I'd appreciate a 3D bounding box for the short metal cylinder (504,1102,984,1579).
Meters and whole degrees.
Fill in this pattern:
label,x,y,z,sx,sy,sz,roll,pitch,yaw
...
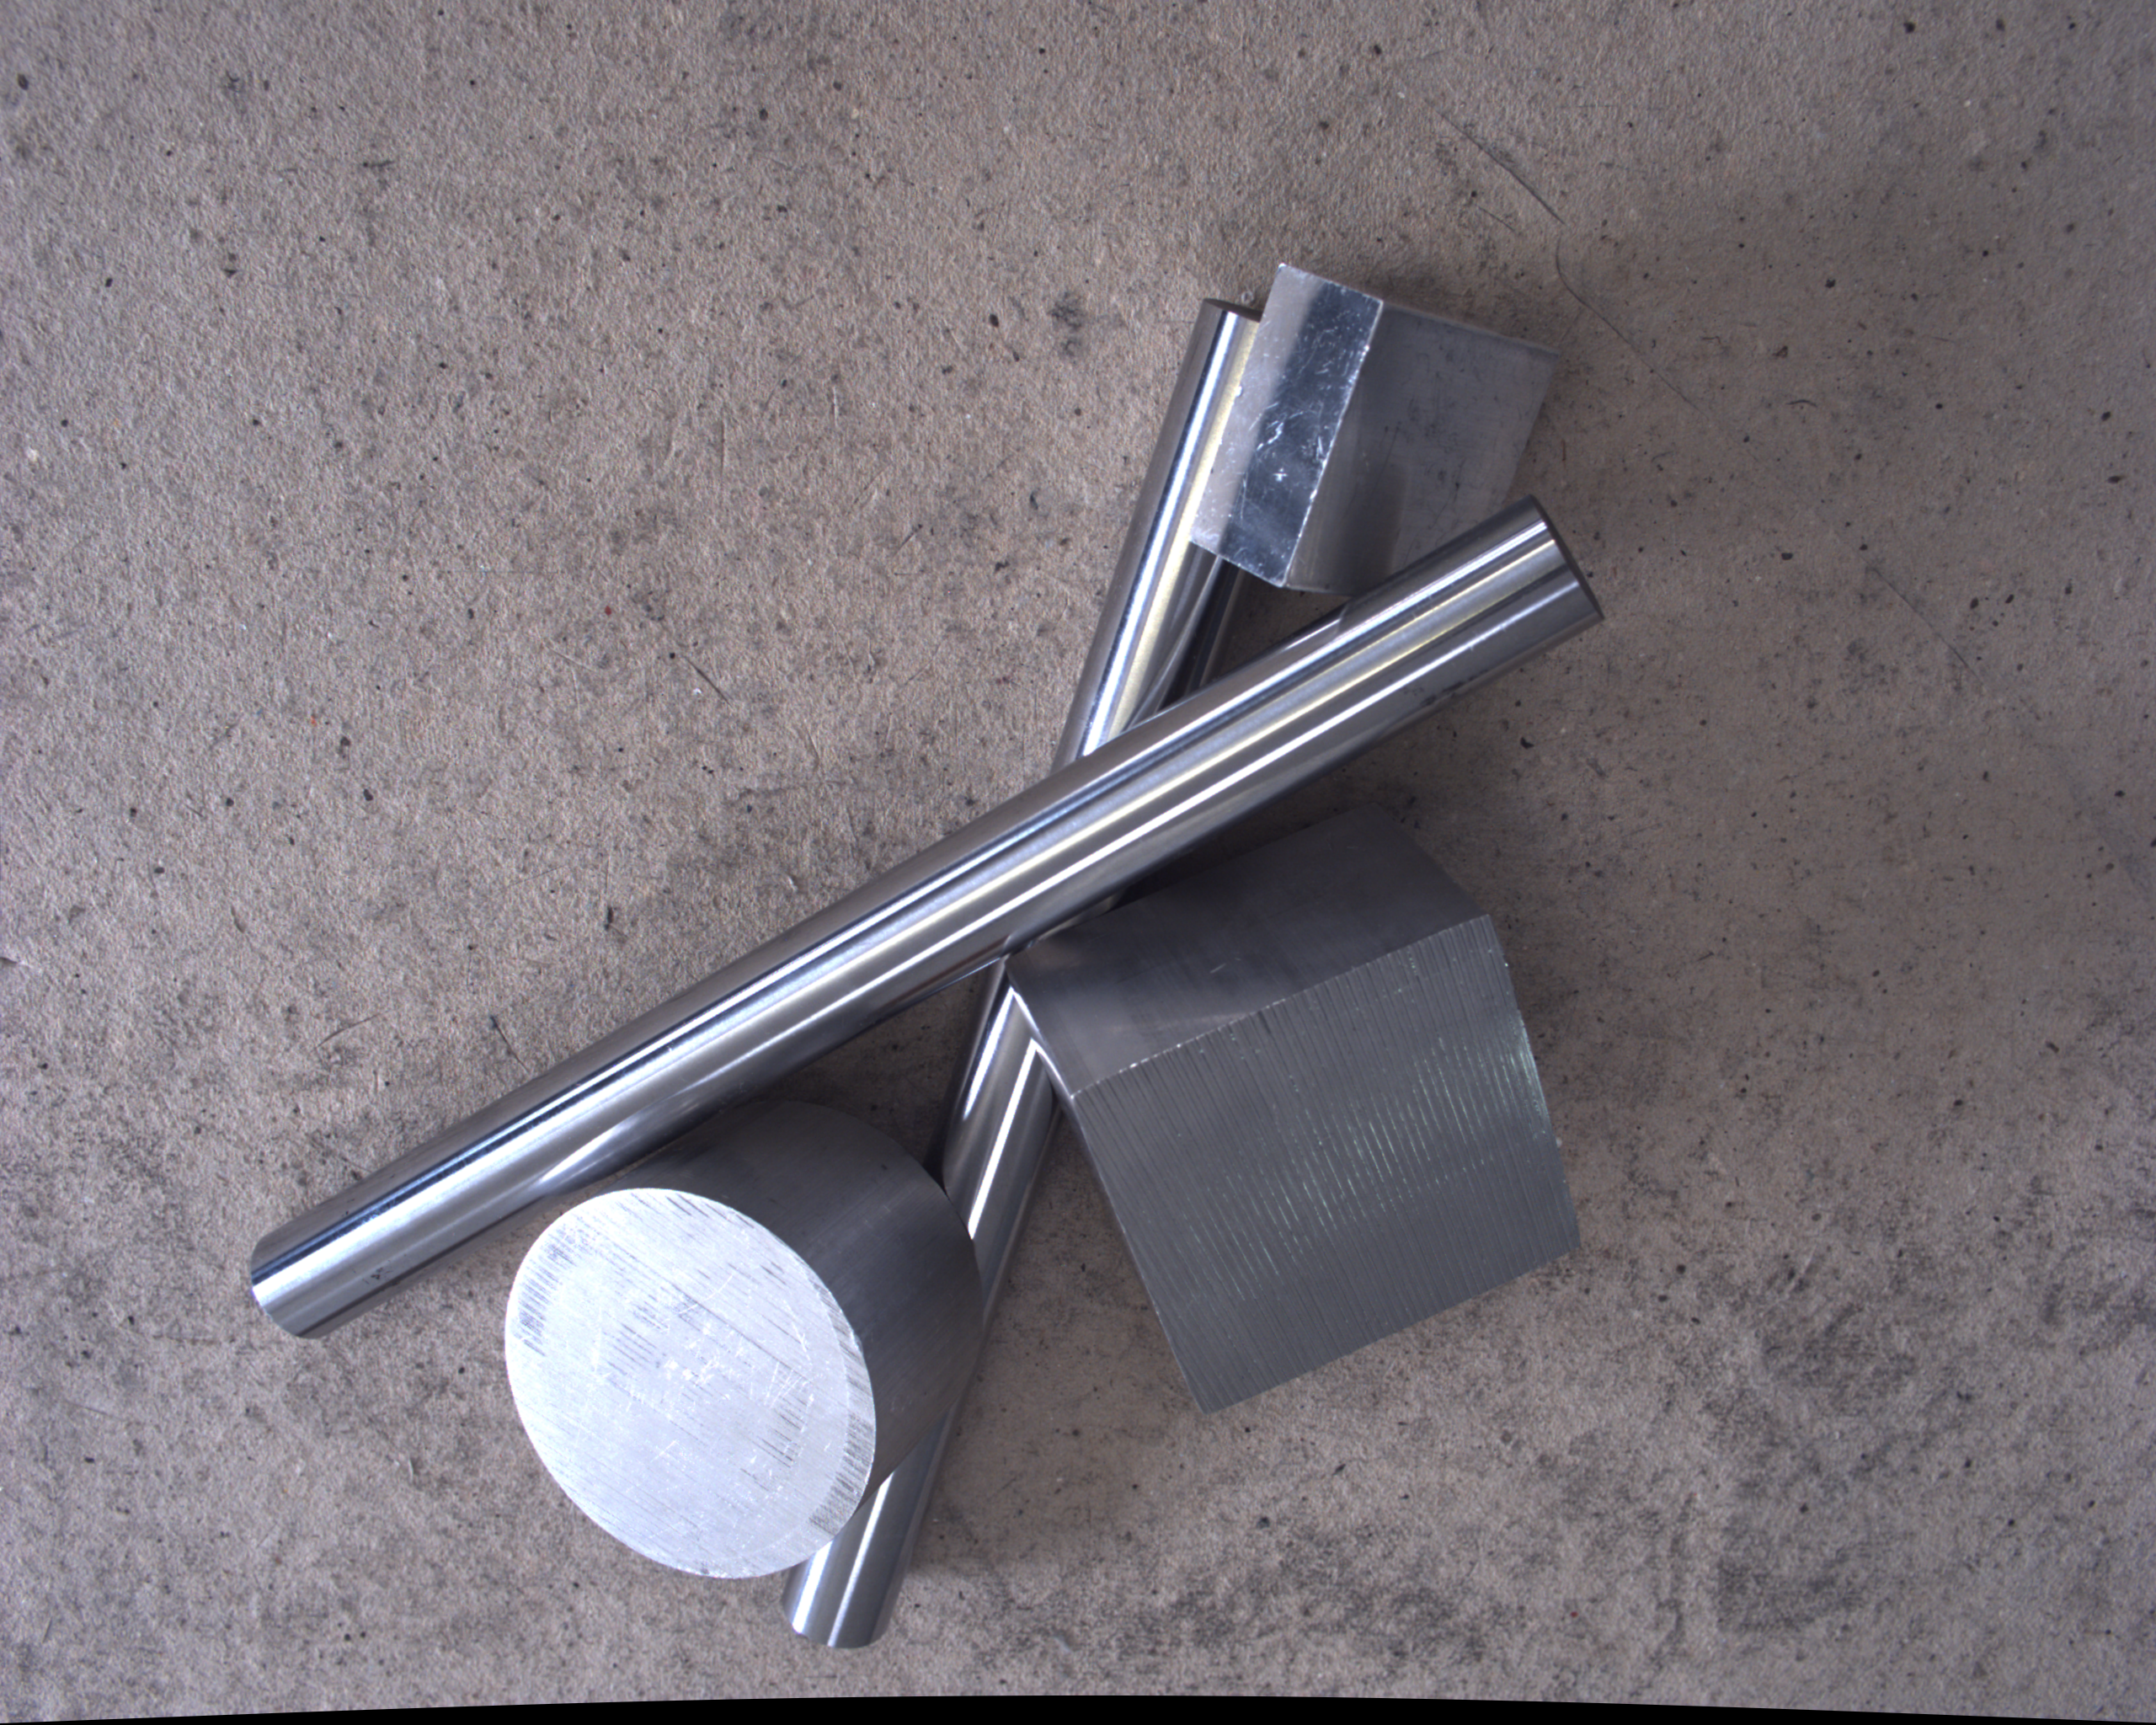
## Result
label,x,y,z,sx,sy,sz,roll,pitch,yaw
short metal cylinder,-0.066,0.094,0.418,0.080,0.050,0.079,5,104,19

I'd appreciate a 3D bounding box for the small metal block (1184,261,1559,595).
label,x,y,z,sx,sy,sz,roll,pitch,yaw
small metal block,0.052,-0.075,0.371,0.050,0.025,0.050,-1,116,-43

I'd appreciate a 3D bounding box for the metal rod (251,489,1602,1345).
label,x,y,z,sx,sy,sz,roll,pitch,yaw
metal rod,-0.041,0.019,0.399,0.300,0.025,0.025,-30,108,17

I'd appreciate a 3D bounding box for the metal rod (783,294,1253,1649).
label,x,y,z,sx,sy,sz,roll,pitch,yaw
metal rod,-0.010,0.035,0.423,0.025,0.025,0.298,16,109,-6

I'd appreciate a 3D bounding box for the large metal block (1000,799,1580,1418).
label,x,y,z,sx,sy,sz,roll,pitch,yaw
large metal block,0.041,0.046,0.399,0.080,0.050,0.080,-23,118,-5
